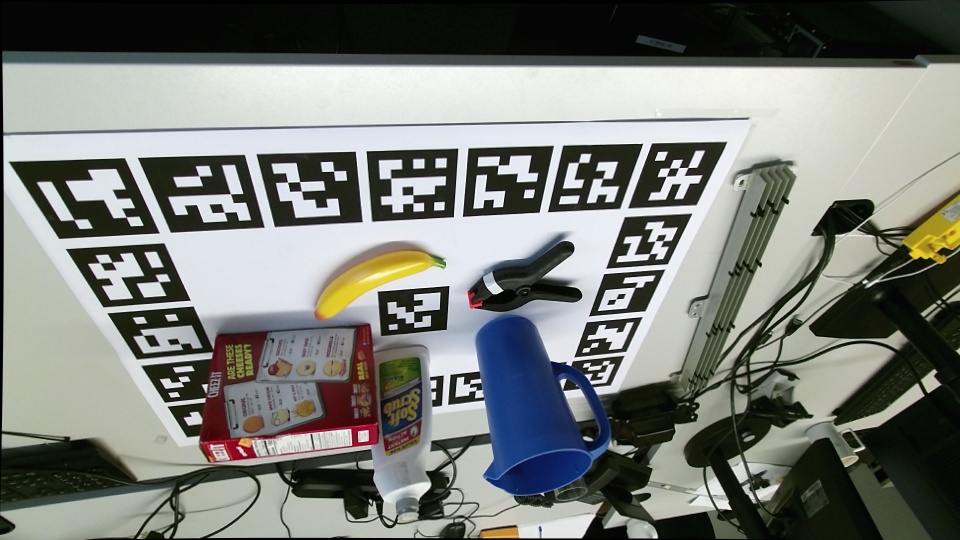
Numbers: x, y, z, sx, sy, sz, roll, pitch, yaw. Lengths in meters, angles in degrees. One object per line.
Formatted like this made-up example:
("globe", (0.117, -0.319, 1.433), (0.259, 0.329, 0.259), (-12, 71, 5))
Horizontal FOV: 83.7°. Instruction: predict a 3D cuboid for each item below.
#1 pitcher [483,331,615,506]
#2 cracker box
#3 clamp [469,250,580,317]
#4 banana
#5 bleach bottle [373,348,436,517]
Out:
("pitcher", (0.086, 0.212, 0.806), (0.189, 0.241, 0.133), (-15, 138, 4))
("cracker box", (-0.255, 0.177, 0.741), (0.214, 0.163, 0.072), (-4, 139, -14))
("clamp", (0.065, 0.032, 0.793), (0.166, 0.036, 0.122), (-14, 139, 2))
("banana", (-0.150, 0.024, 0.735), (0.198, 0.038, 0.074), (-27, 137, 13))
("bleach bottle", (-0.106, 0.238, 0.808), (0.103, 0.249, 0.068), (-4, 137, -12))
